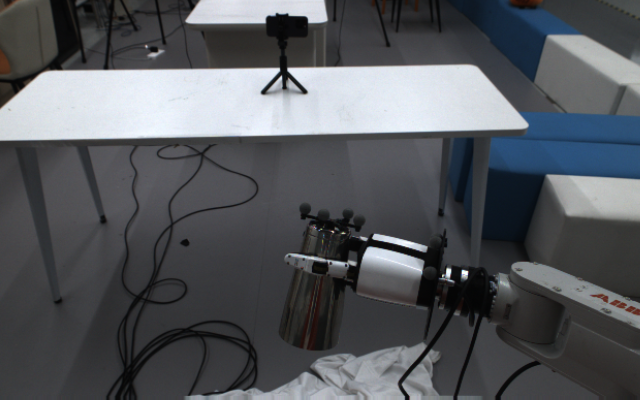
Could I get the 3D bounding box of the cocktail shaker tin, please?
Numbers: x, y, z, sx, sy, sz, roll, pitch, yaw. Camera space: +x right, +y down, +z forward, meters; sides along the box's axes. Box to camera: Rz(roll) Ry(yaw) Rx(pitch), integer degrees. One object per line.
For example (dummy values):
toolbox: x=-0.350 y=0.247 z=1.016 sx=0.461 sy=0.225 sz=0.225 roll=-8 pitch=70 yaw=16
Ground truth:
cocktail shaker tin: x=0.002 y=0.118 z=0.713 sx=0.093 sy=0.170 sz=0.093 roll=10 pitch=9 yaw=-2
